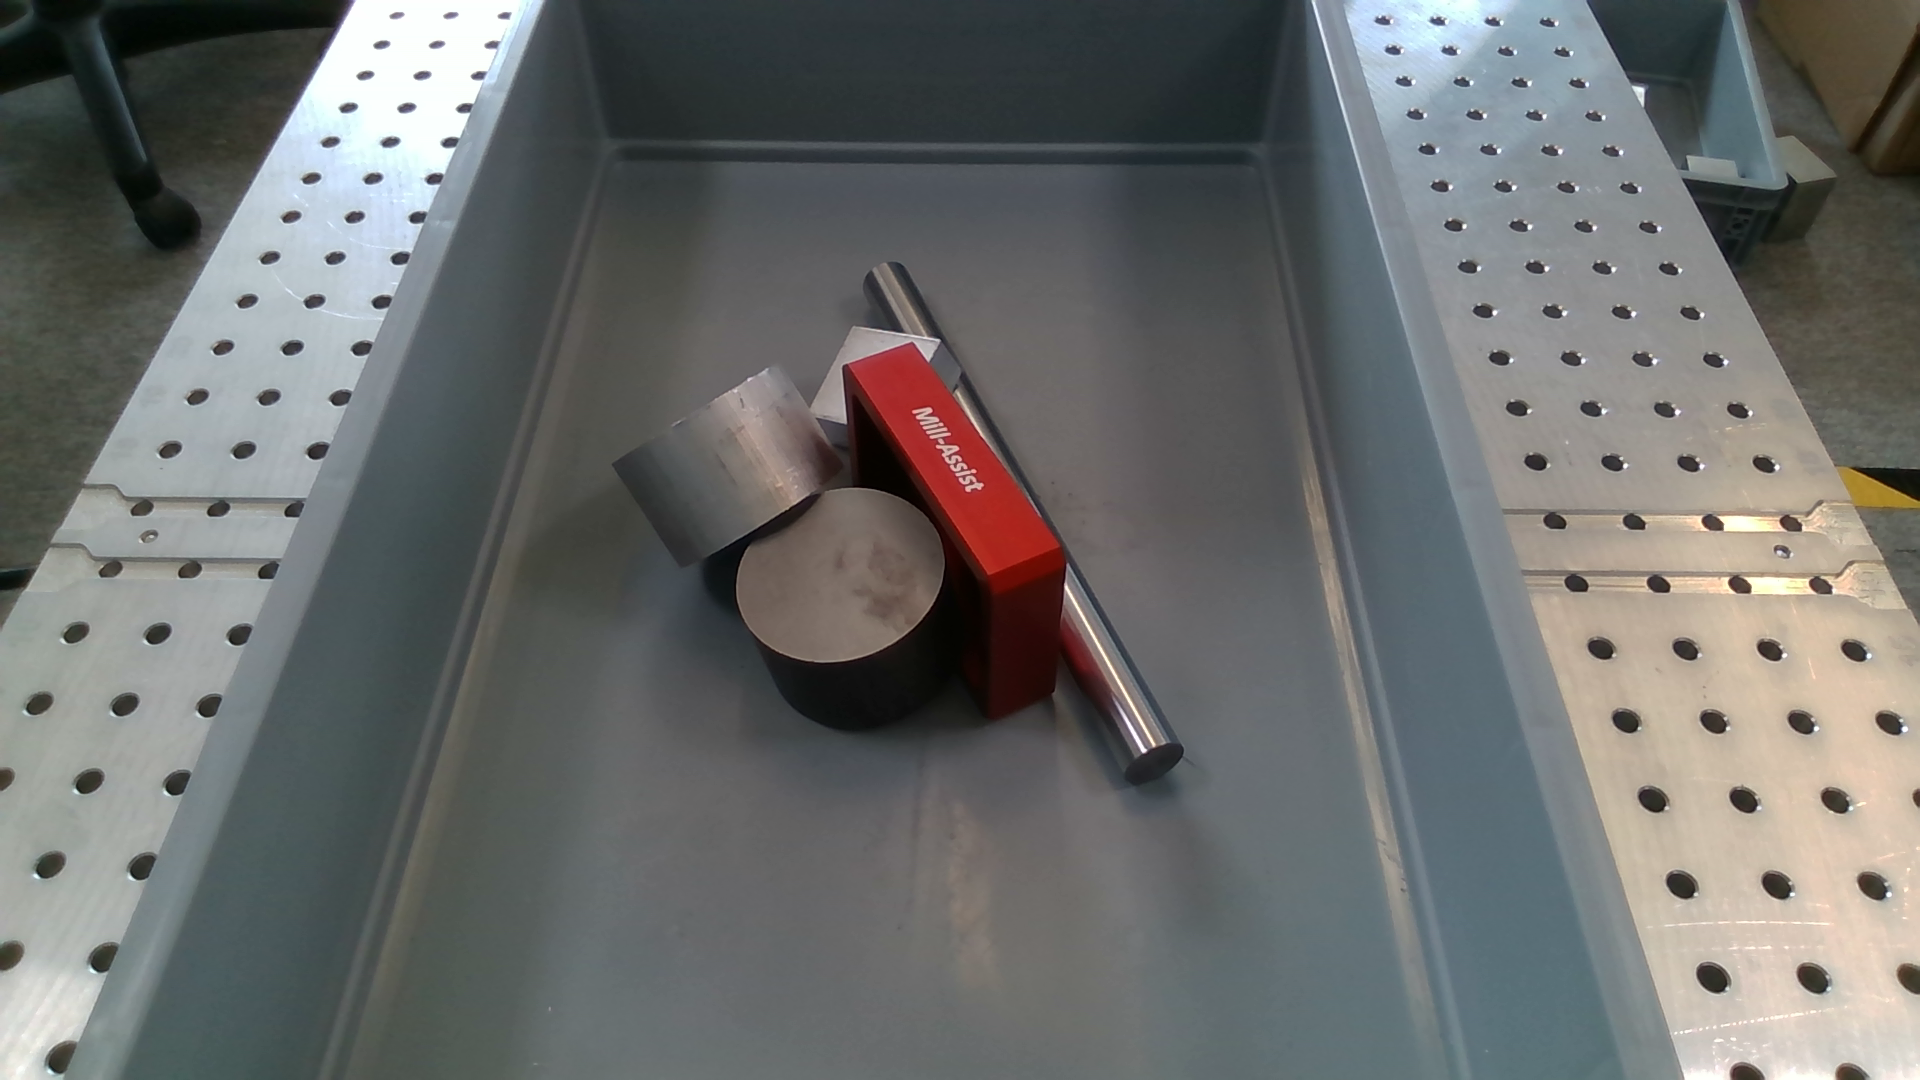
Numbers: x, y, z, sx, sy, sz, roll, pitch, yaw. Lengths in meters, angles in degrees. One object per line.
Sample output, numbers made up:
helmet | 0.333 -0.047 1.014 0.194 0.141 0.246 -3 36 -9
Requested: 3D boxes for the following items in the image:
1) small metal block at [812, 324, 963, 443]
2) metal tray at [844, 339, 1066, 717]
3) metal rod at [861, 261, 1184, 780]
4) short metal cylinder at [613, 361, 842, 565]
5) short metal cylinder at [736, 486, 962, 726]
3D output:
small metal block | -0.034 -0.067 0.625 0.050 0.025 0.050 15 69 31
metal tray | -0.005 -0.006 0.548 0.030 0.090 0.130 -21 53 -17
metal rod | 0.017 -0.024 0.605 0.025 0.025 0.299 -17 52 -14
short metal cylinder | -0.095 -0.032 0.567 0.080 0.080 0.050 -35 100 -26
short metal cylinder | -0.042 0.026 0.541 0.080 0.050 0.080 -5 54 7
